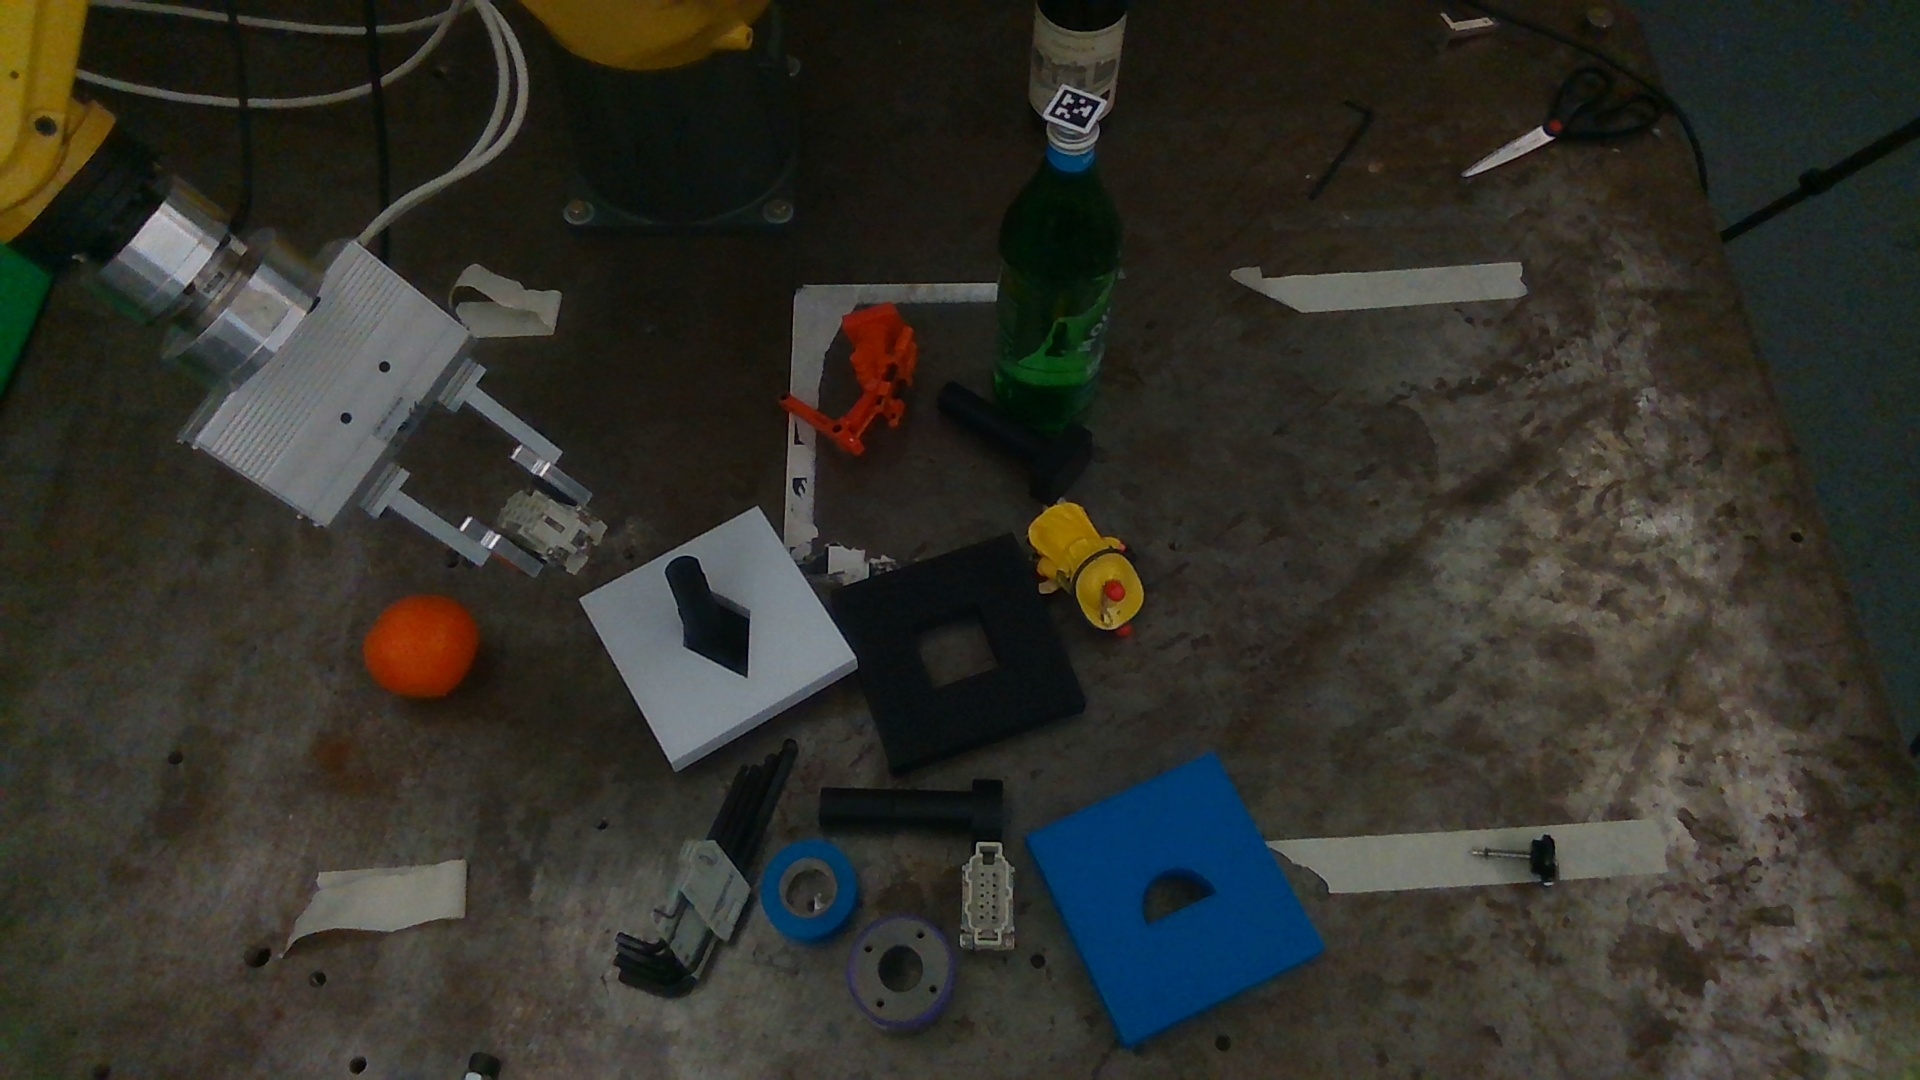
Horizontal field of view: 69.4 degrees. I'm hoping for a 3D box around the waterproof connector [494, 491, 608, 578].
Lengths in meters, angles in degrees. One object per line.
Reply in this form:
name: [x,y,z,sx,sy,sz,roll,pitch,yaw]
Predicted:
waterproof connector: [-0.221,-0.006,0.741,0.069,0.038,0.036,13,73,49]
